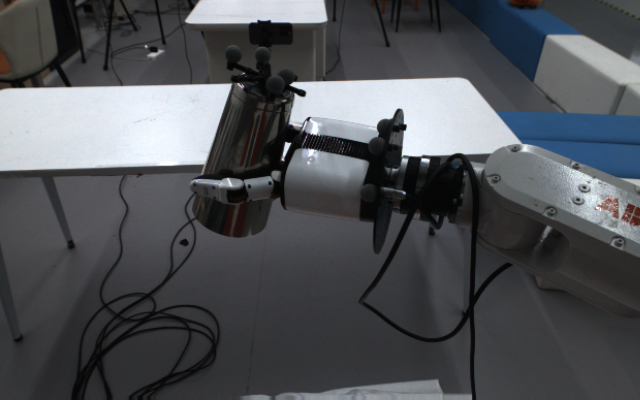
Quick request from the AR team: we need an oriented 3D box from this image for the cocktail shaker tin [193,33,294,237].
[{"bbox_3d":[-0.083,-0.054,0.549,0.093,0.170,0.093,15,31,-10],"label":"cocktail shaker tin"}]
